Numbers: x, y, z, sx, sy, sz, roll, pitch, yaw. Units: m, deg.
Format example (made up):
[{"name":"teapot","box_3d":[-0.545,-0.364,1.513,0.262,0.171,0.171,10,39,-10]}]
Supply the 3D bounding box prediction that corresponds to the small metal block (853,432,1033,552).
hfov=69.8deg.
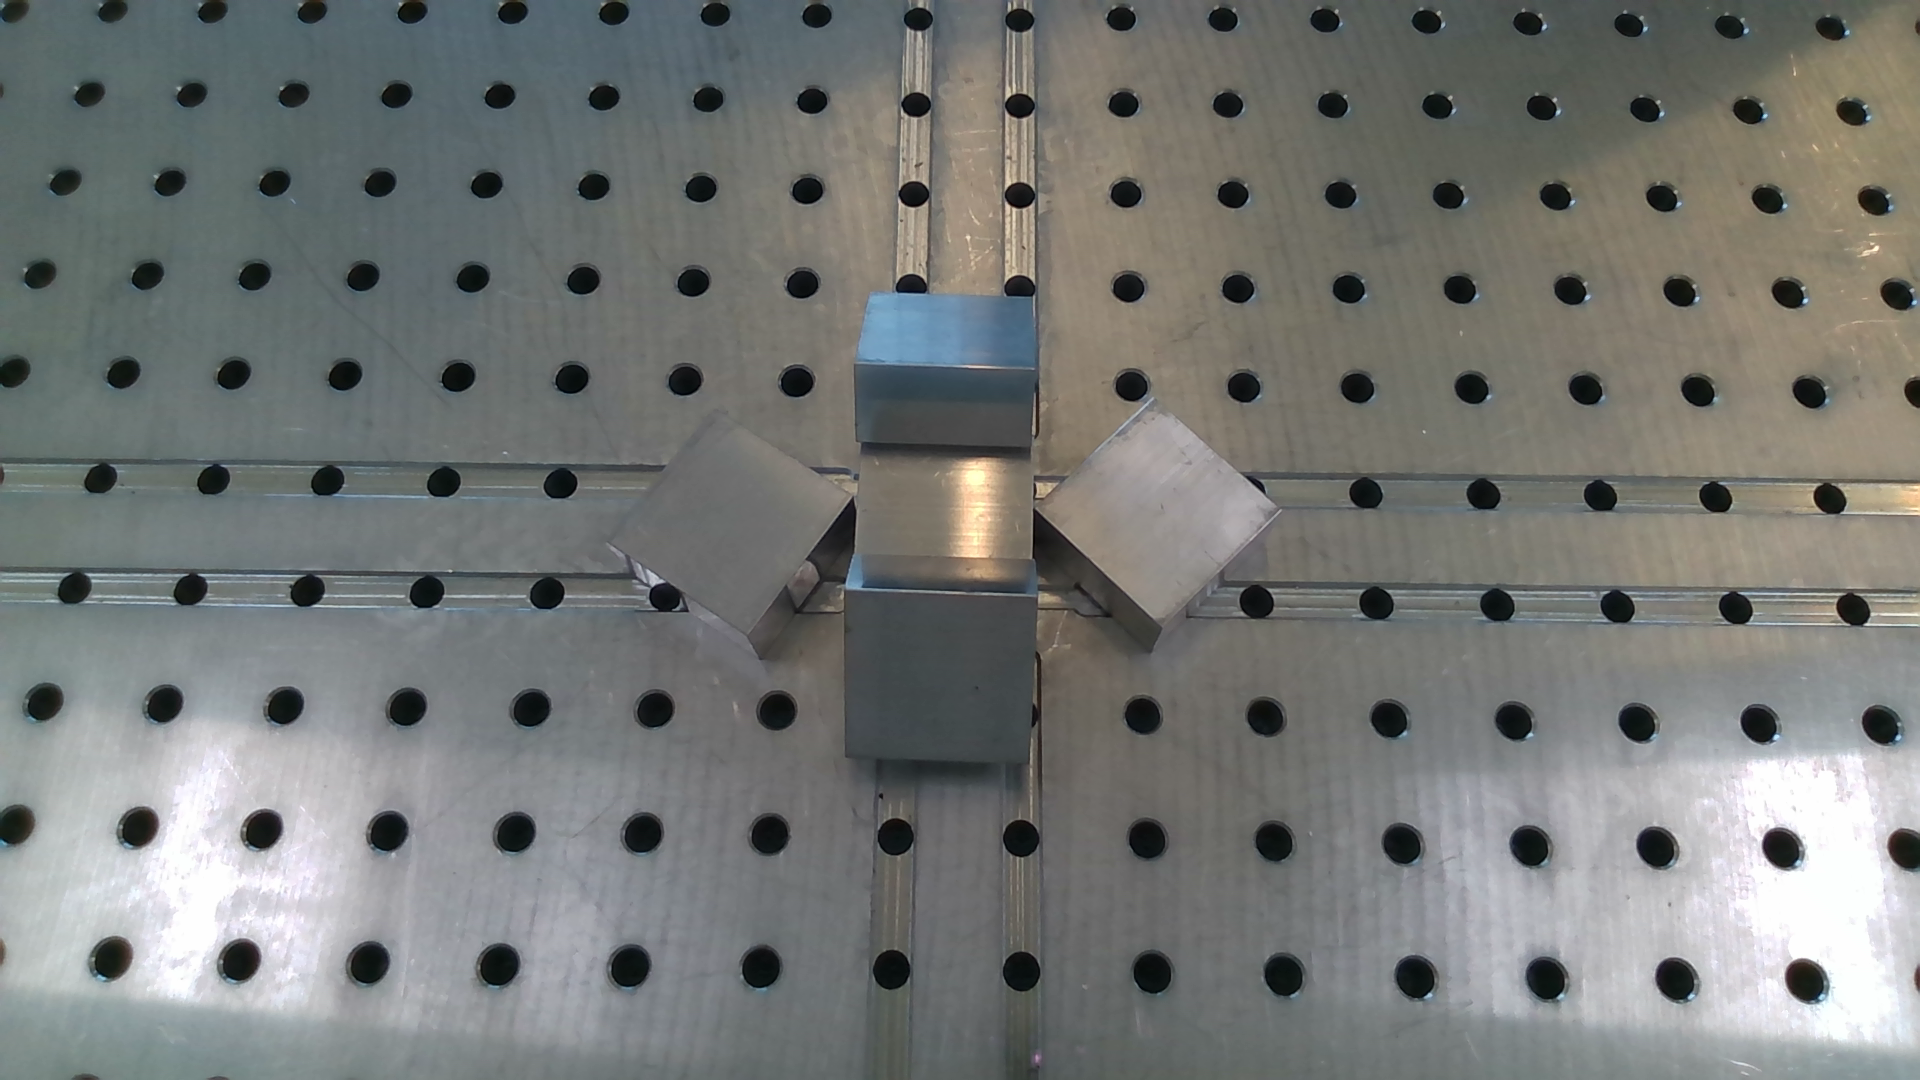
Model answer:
[{"name":"small metal block","box_3d":[-0.005,-0.005,0.399,0.050,0.025,0.050,1,70,0]}]

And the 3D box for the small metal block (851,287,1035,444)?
[{"name":"small metal block","box_3d":[-0.004,-0.052,0.403,0.050,0.025,0.050,2,34,2]}]

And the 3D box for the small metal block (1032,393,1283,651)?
[{"name":"small metal block","box_3d":[0.056,-0.005,0.400,0.050,0.025,0.050,-42,76,-14]}]

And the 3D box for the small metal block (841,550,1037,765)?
[{"name":"small metal block","box_3d":[-0.006,0.032,0.372,0.050,0.025,0.050,2,111,1]}]

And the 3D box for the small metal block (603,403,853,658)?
[{"name":"small metal block","box_3d":[-0.065,-0.003,0.398,0.050,0.025,0.050,32,72,11]}]
